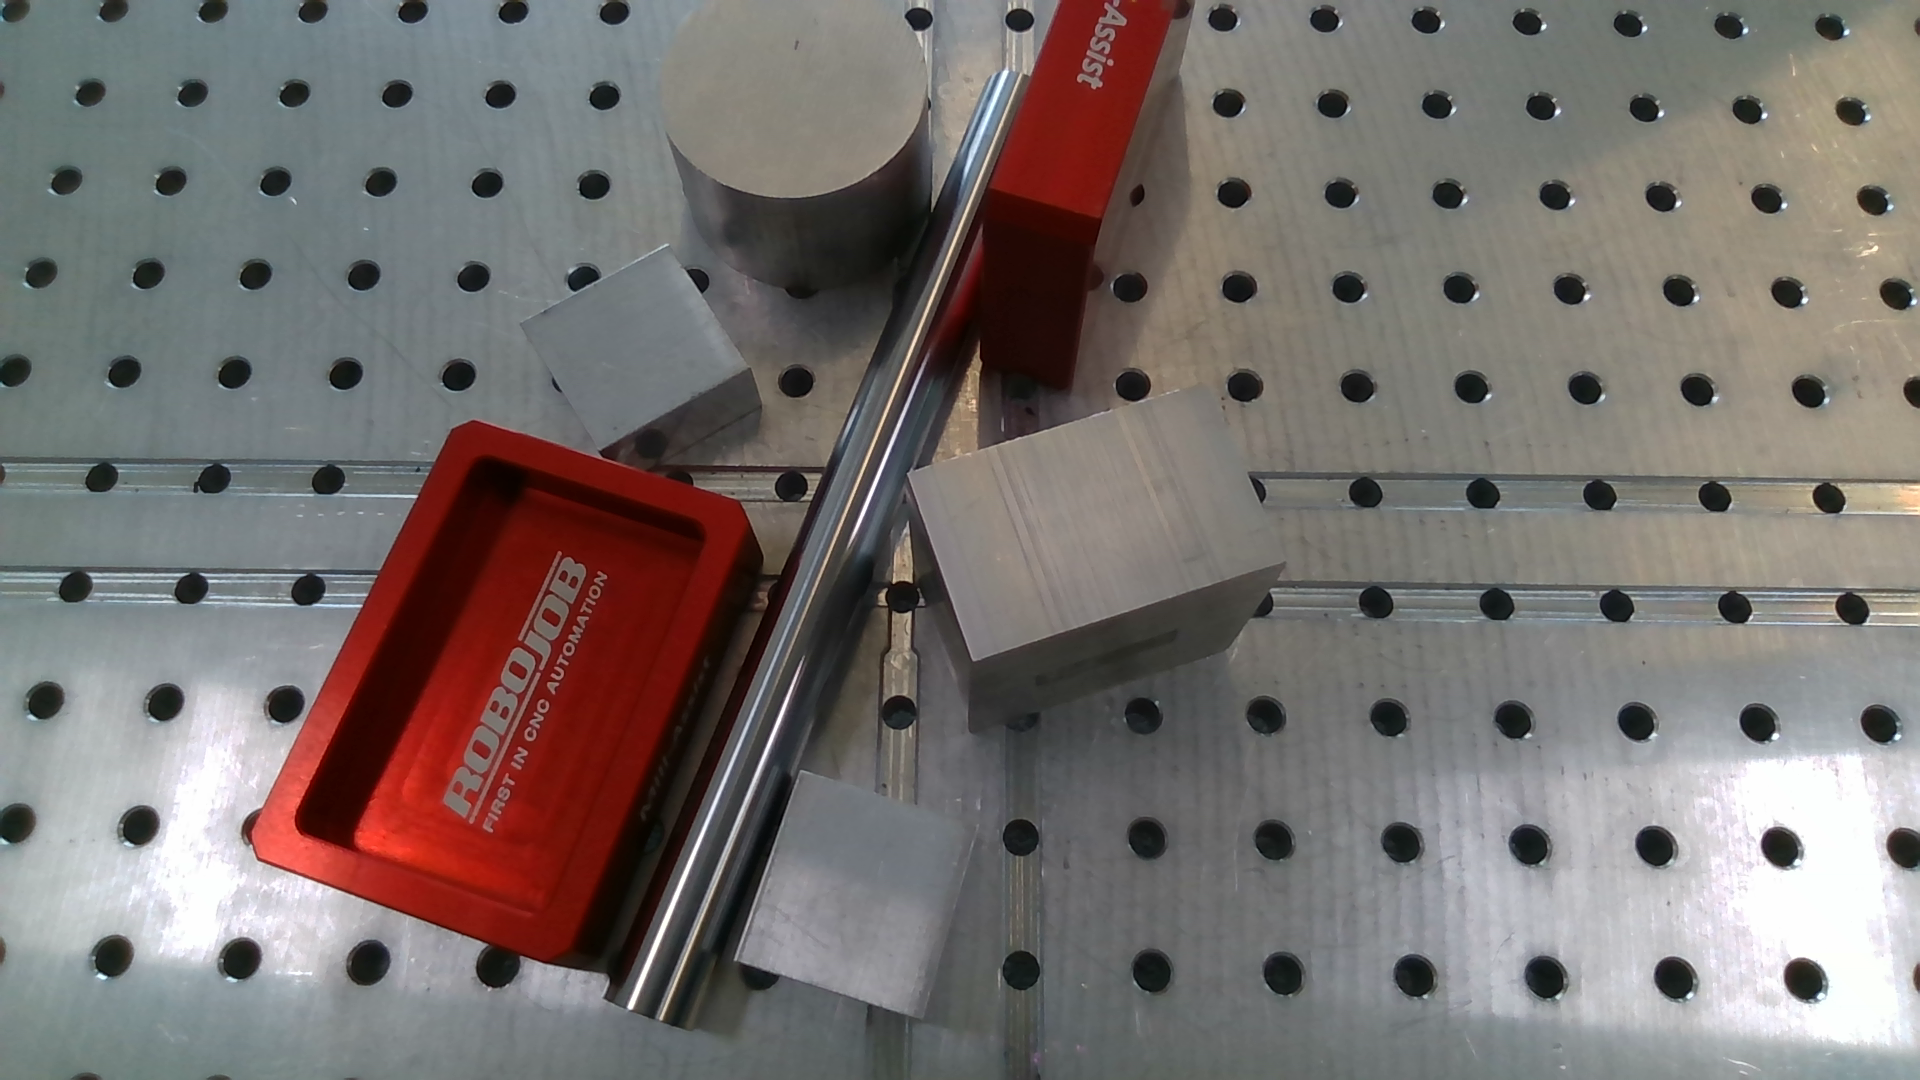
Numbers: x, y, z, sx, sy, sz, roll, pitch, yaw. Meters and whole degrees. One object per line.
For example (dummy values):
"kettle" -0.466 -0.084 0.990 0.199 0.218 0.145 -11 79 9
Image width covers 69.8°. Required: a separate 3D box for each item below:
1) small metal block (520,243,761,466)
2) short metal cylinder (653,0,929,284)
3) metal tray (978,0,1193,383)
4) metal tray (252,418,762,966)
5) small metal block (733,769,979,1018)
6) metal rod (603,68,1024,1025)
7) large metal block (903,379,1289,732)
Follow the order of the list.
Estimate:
"small metal block" -0.096 -0.054 0.418 0.050 0.025 0.050 -31 73 -10
"short metal cylinder" -0.050 -0.128 0.429 0.080 0.050 0.080 0 70 0
"metal tray" 0.040 -0.124 0.406 0.030 0.090 0.130 18 71 6
"metal tray" -0.120 0.040 0.381 0.090 0.030 0.130 17 71 6
"small metal block" -0.026 0.094 0.365 0.050 0.025 0.050 16 71 6
"metal rod" -0.030 -0.012 0.402 0.025 0.025 0.299 18 72 7
"large metal block" 0.032 0.008 0.368 0.080 0.080 0.050 -18 71 -6
